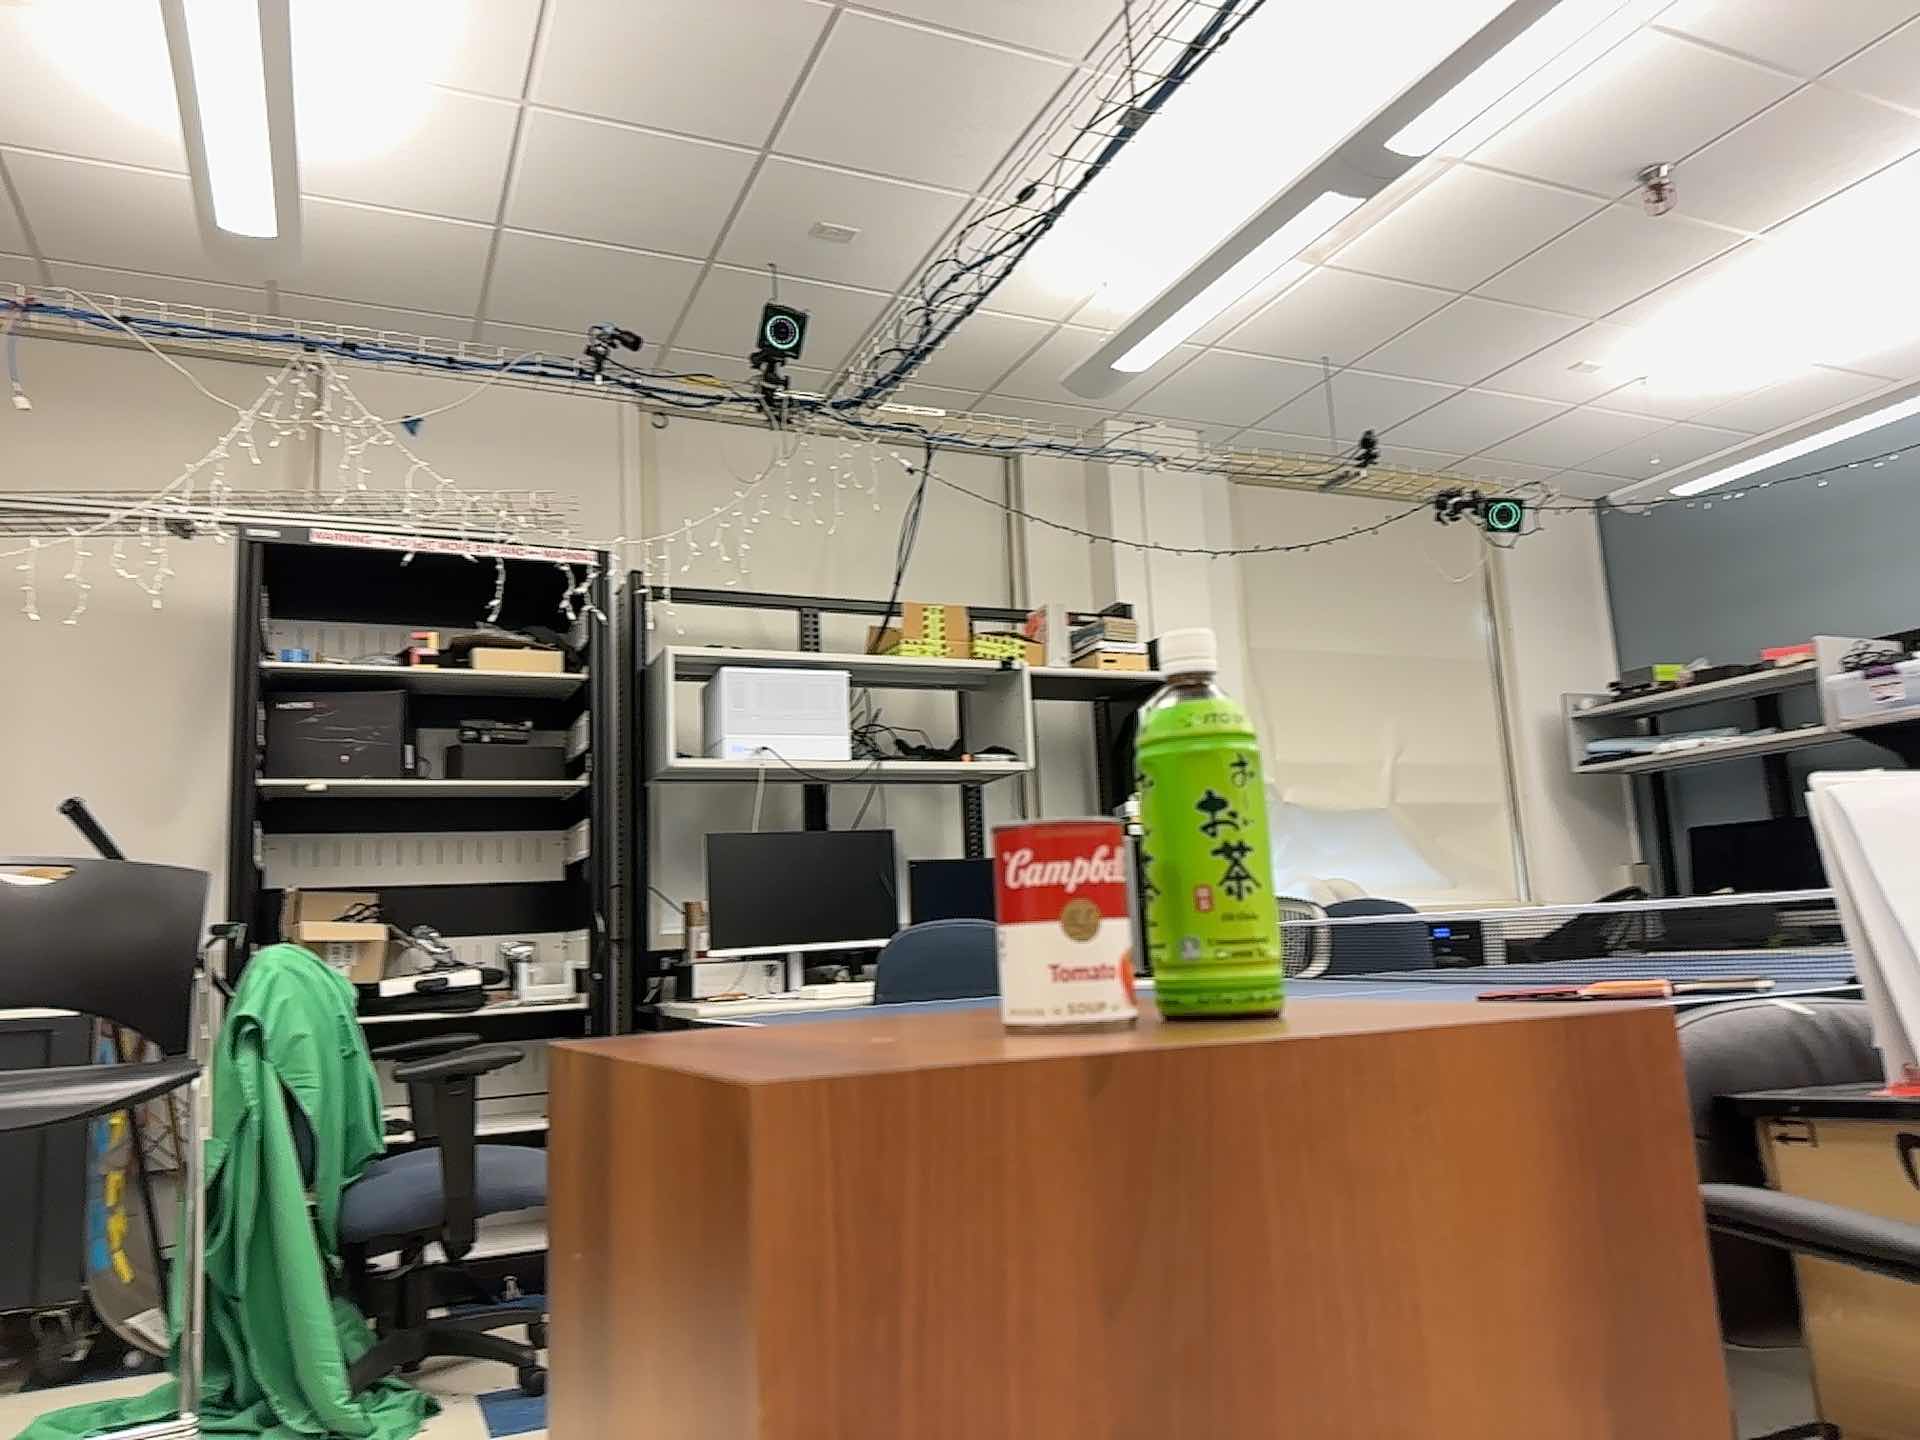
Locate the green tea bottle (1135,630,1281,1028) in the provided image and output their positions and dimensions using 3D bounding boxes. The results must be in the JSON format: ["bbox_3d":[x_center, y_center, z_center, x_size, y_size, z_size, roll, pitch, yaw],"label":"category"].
[{"bbox_3d":[0.130,0.057,0.728,0.073,0.212,0.073,-4,-8,-1],"label":"green tea bottle"}]

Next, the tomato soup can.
[{"bbox_3d":[0.050,0.101,0.667,0.067,0.102,0.067,-2,-9,0],"label":"tomato soup can"}]
